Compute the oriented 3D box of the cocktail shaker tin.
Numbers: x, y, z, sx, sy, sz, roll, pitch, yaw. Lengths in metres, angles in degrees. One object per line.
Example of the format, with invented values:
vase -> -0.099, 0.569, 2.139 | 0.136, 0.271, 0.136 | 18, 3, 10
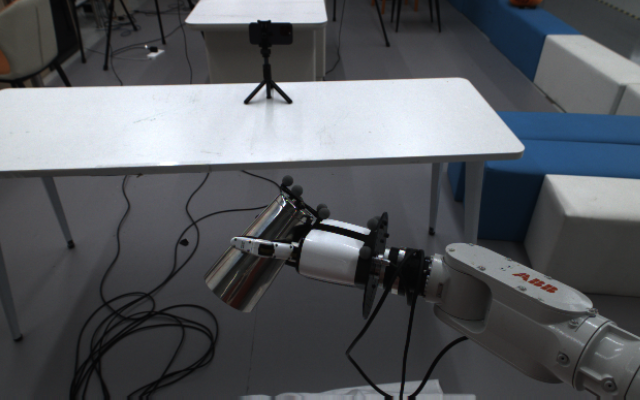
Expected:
cocktail shaker tin -> -0.086, 0.073, 0.736 | 0.170, 0.093, 0.093 | -50, 46, 4
